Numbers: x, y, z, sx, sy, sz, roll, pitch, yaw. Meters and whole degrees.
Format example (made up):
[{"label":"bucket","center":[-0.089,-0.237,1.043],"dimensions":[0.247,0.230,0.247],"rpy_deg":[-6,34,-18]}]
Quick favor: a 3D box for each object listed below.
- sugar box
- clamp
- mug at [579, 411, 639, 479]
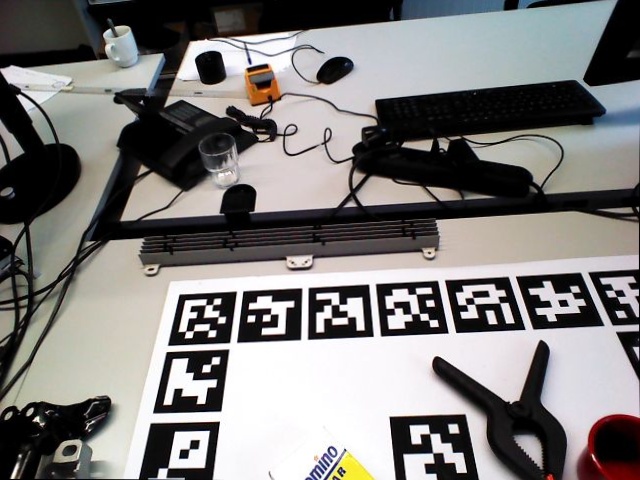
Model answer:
[{"label":"sugar box","center":[0.040,0.311,0.596],"dimensions":[0.092,0.045,0.177],"rpy_deg":[-33,46,-20]},{"label":"clamp","center":[0.264,0.223,0.669],"dimensions":[0.165,0.037,0.202],"rpy_deg":[-12,49,-3]},{"label":"mug","center":[0.352,0.263,0.579],"dimensions":[0.093,0.082,0.117],"rpy_deg":[-25,46,-14]}]
